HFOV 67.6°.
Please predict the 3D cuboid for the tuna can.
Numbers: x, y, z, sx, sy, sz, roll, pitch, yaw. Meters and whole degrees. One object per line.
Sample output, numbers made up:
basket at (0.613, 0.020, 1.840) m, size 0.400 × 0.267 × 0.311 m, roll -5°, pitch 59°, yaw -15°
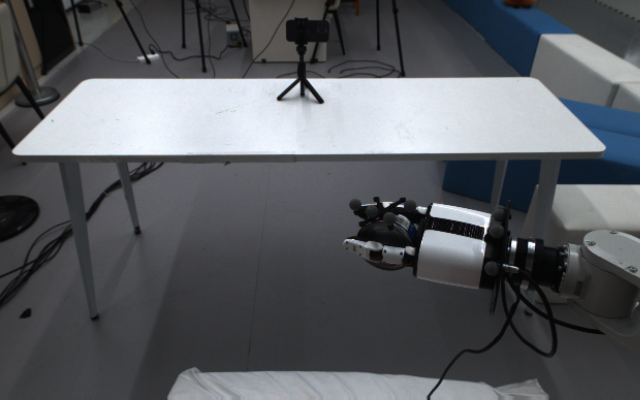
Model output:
tuna can at (0.099, 0.057, 0.701) m, size 0.085 × 0.085 × 0.034 m, roll 15°, pitch 34°, yaw 17°
